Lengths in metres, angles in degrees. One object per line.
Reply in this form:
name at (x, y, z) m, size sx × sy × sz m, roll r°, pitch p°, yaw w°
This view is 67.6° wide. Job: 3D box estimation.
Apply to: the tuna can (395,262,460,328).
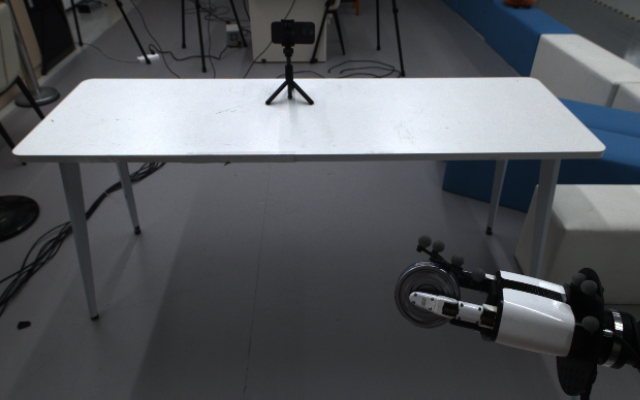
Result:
tuna can at (0.146, 0.124, 0.645) m, size 0.085 × 0.085 × 0.034 m, roll 13°, pitch 5°, yaw 15°
